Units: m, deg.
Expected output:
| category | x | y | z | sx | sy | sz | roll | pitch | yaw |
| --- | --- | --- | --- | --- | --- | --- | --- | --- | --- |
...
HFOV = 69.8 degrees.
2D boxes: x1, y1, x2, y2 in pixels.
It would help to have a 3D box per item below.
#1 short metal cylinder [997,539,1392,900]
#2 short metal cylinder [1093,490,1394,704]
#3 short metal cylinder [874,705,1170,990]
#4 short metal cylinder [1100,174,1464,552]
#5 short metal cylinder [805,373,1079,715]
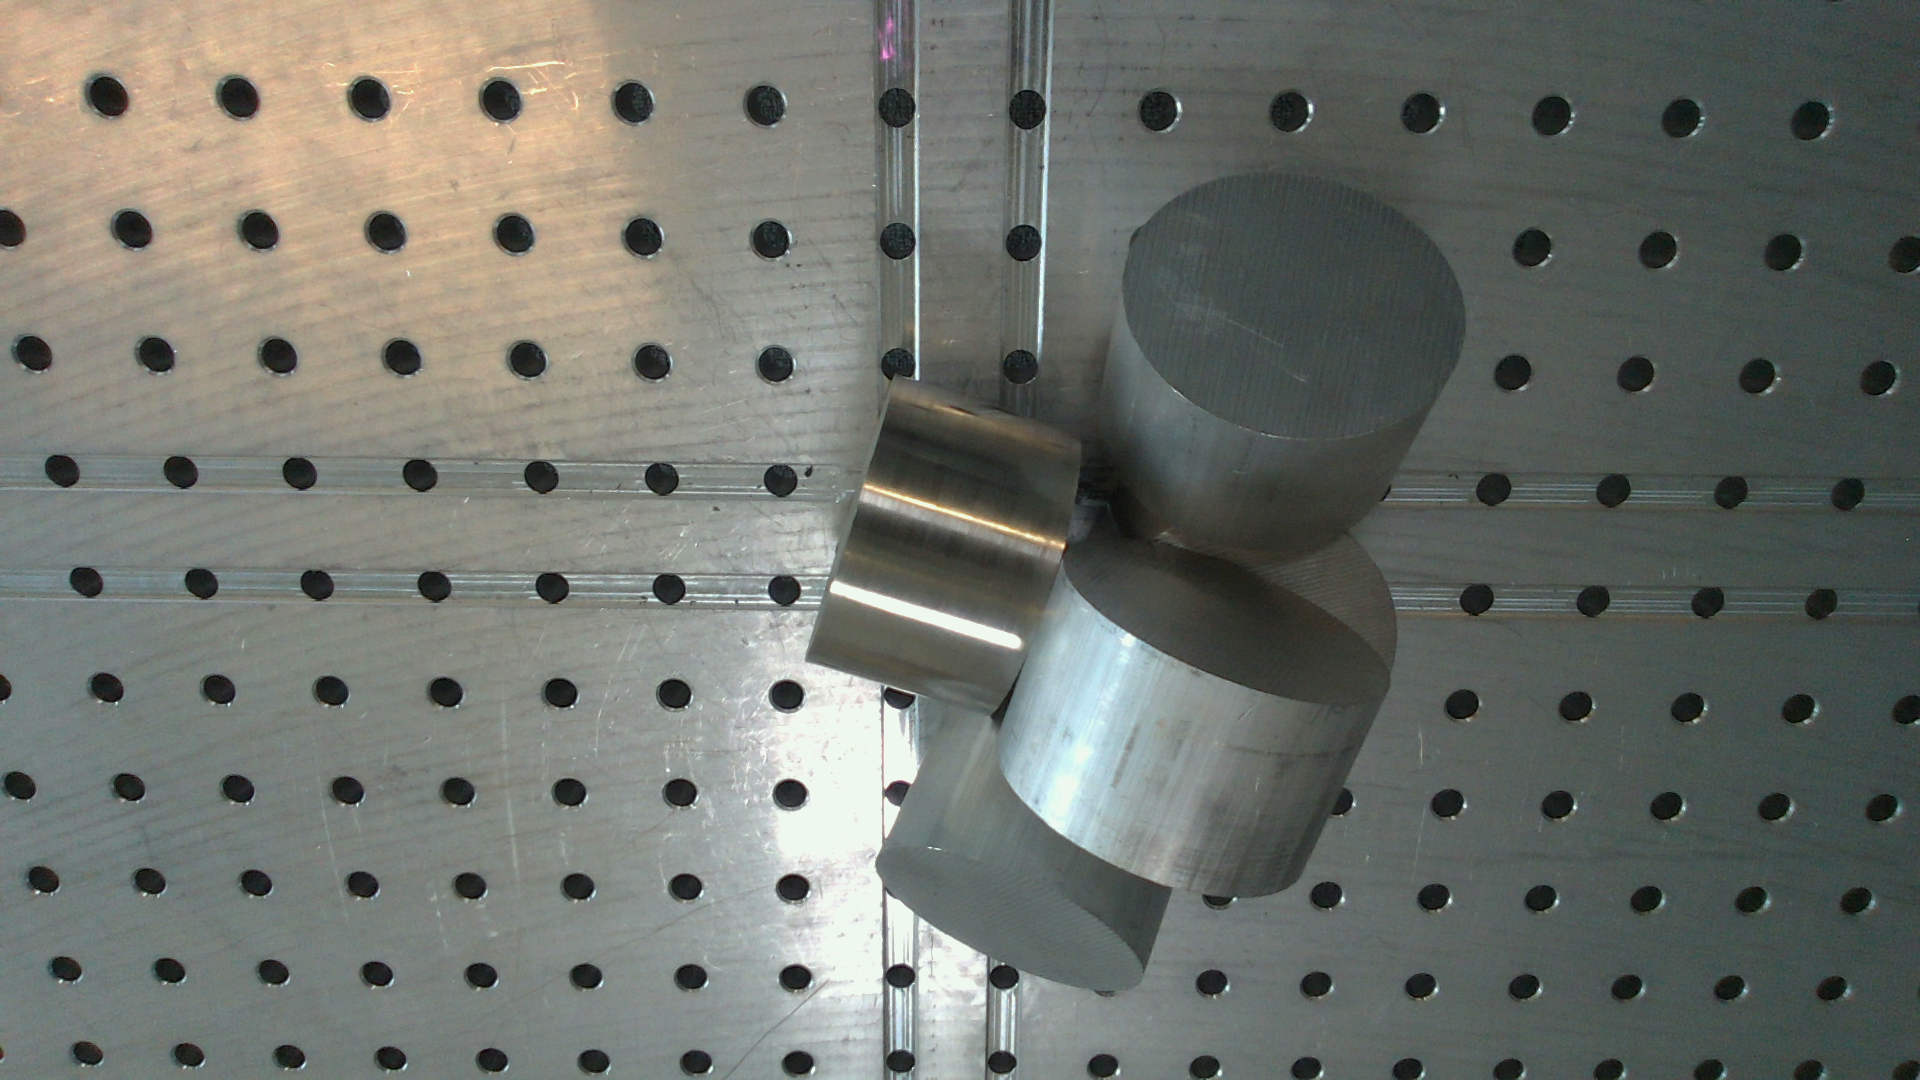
| category | x | y | z | sx | sy | sz | roll | pitch | yaw |
| --- | --- | --- | --- | --- | --- | --- | --- | --- | --- |
| short metal cylinder | 0.055 | 0.040 | 0.328 | 0.080 | 0.080 | 0.050 | 16 | 109 | -6 |
| short metal cylinder | 0.076 | 0.021 | 0.390 | 0.080 | 0.050 | 0.080 | 0 | 109 | 0 |
| short metal cylinder | 0.022 | 0.086 | 0.393 | 0.080 | 0.050 | 0.080 | 19 | 149 | 12 |
| short metal cylinder | 0.077 | -0.044 | 0.344 | 0.080 | 0.080 | 0.050 | 2 | 150 | -1 |
| short metal cylinder | -0.006 | 0.001 | 0.368 | 0.050 | 0.080 | 0.080 | 18 | 109 | -6 |
